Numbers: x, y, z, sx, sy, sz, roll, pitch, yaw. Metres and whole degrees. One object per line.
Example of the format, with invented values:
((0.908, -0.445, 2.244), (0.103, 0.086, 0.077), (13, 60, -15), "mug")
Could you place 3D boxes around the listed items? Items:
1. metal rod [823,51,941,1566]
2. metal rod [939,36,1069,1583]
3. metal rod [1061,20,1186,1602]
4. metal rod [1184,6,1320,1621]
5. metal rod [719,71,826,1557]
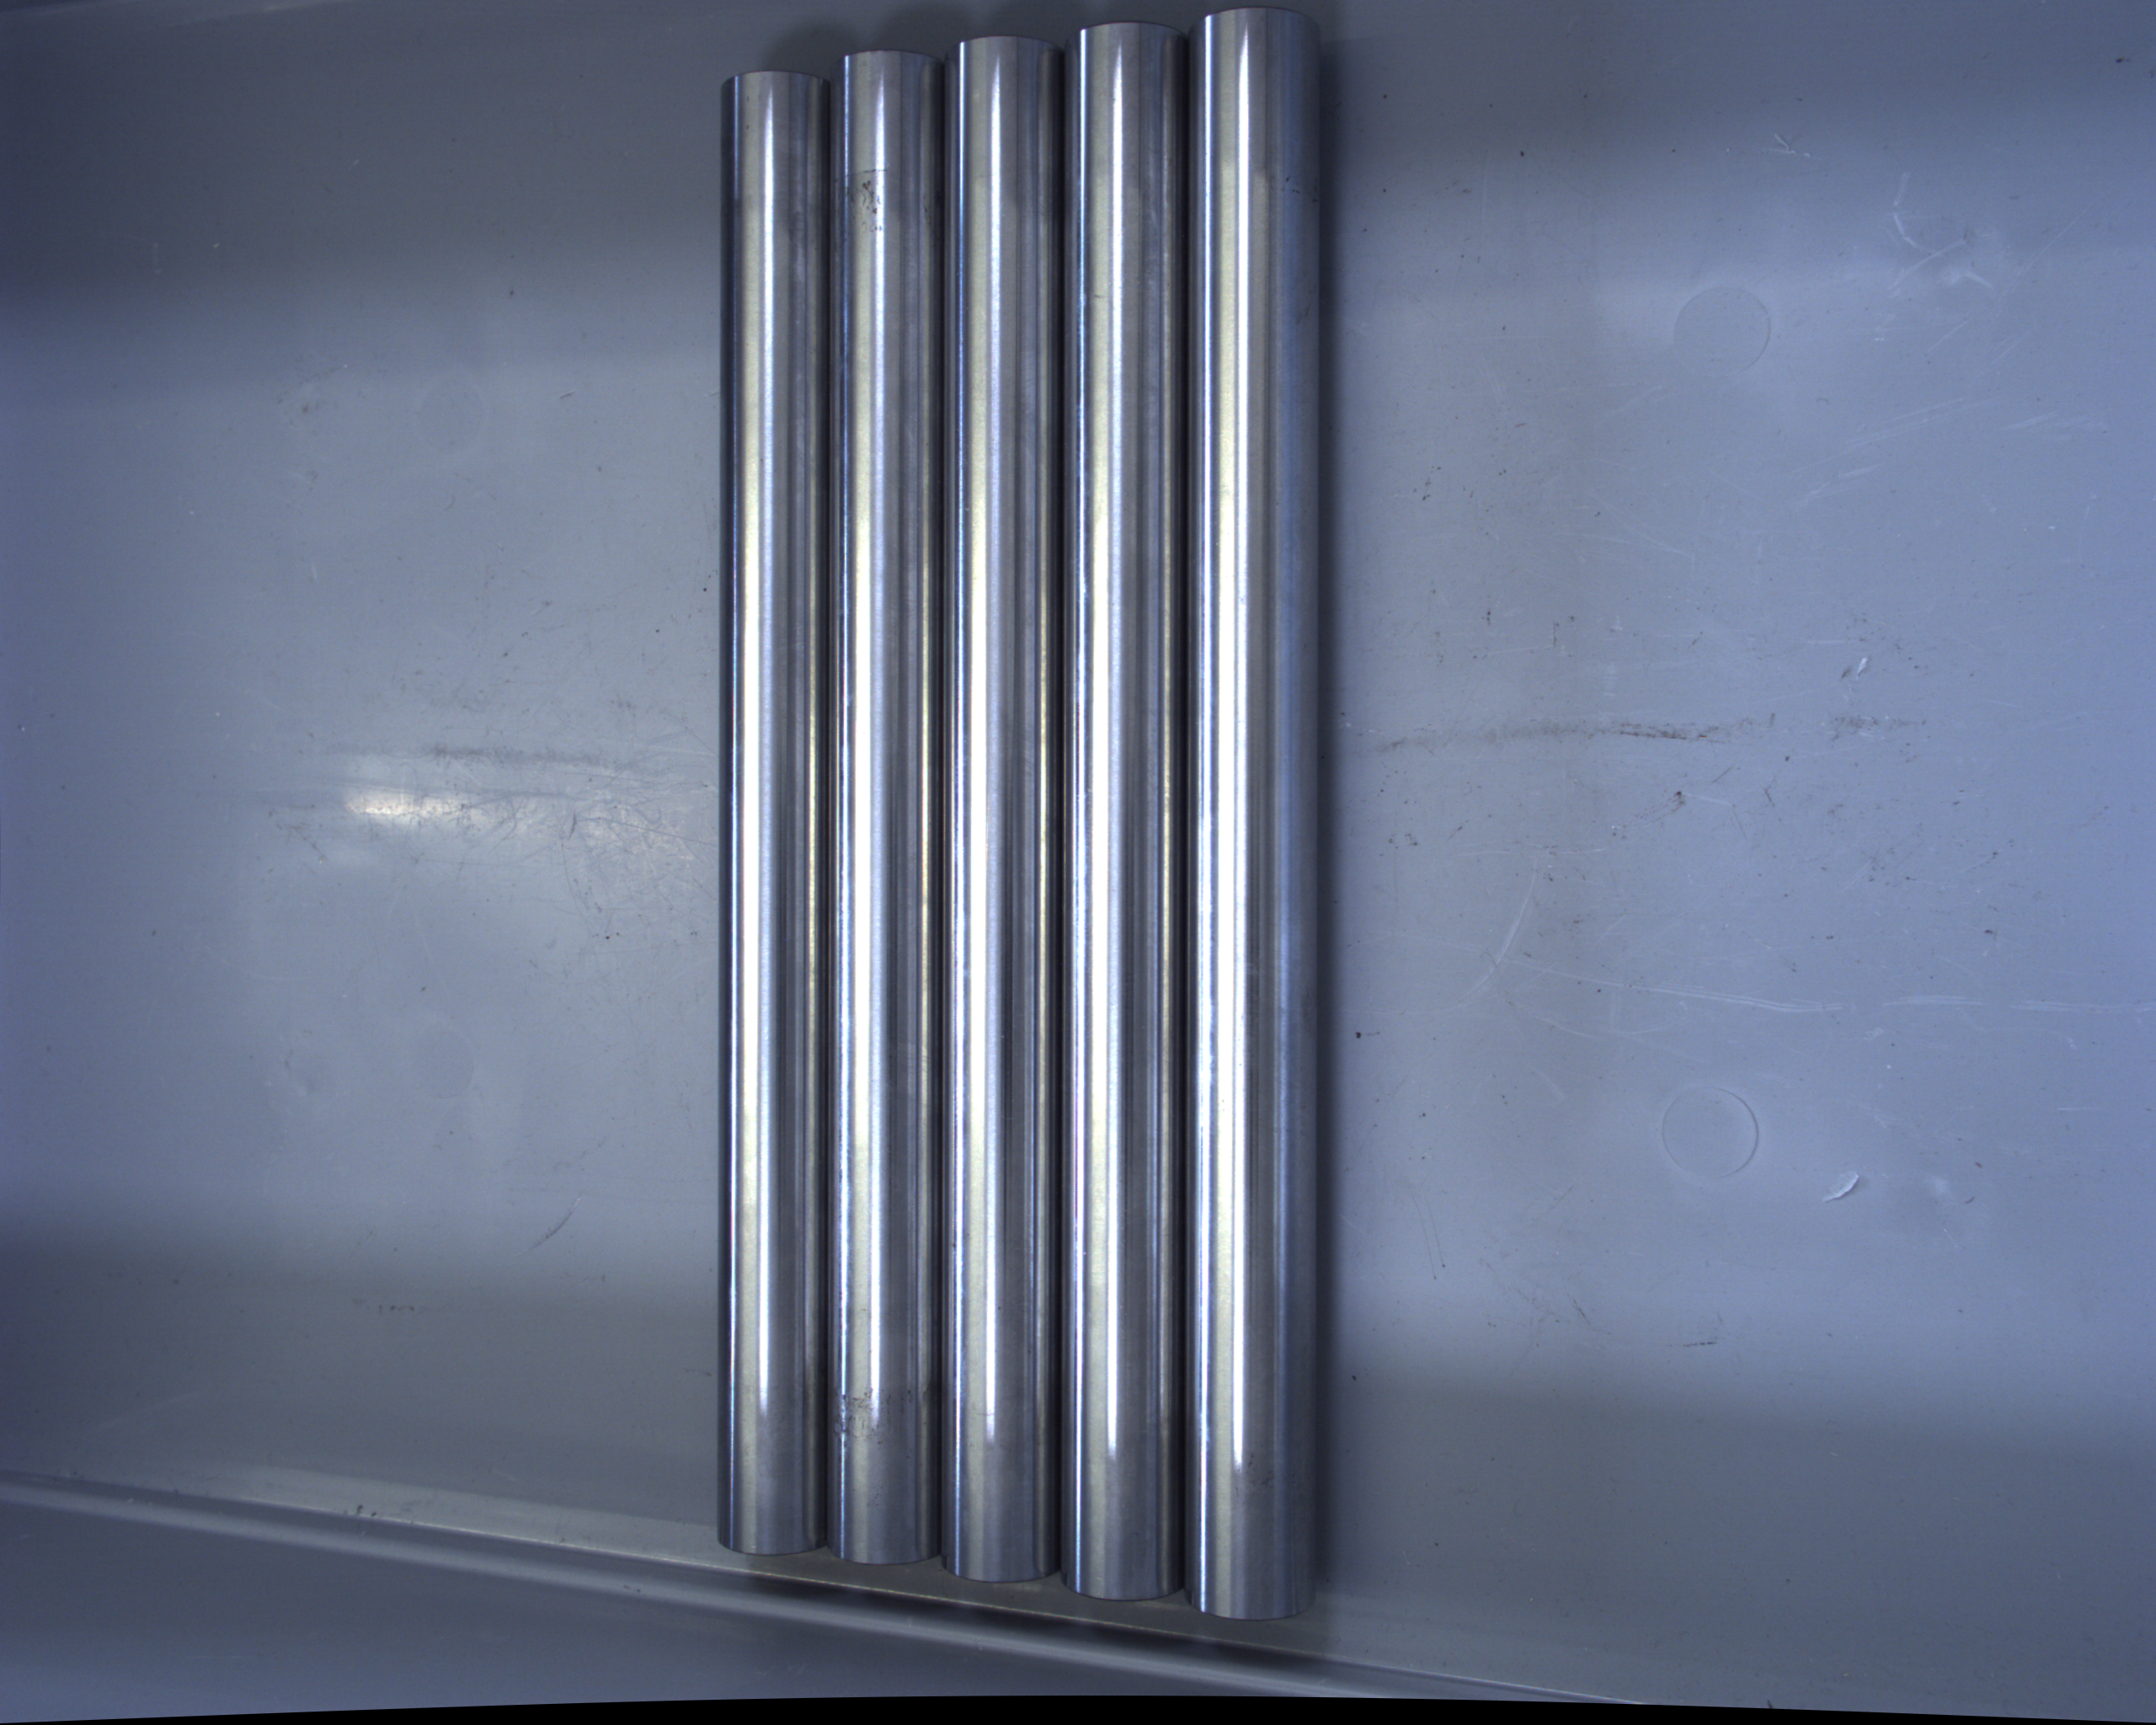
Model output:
((-0.039, -0.011, 0.423), (0.025, 0.025, 0.298), (0, 90, 20), "metal rod")
((-0.015, -0.010, 0.414), (0.025, 0.025, 0.298), (0, 90, 20), "metal rod")
((0.010, -0.010, 0.406), (0.025, 0.025, 0.298), (0, 90, 20), "metal rod")
((0.033, -0.009, 0.397), (0.025, 0.025, 0.298), (0, 90, 20), "metal rod")
((-0.061, -0.010, 0.431), (0.025, 0.025, 0.298), (0, 90, 20), "metal rod")
